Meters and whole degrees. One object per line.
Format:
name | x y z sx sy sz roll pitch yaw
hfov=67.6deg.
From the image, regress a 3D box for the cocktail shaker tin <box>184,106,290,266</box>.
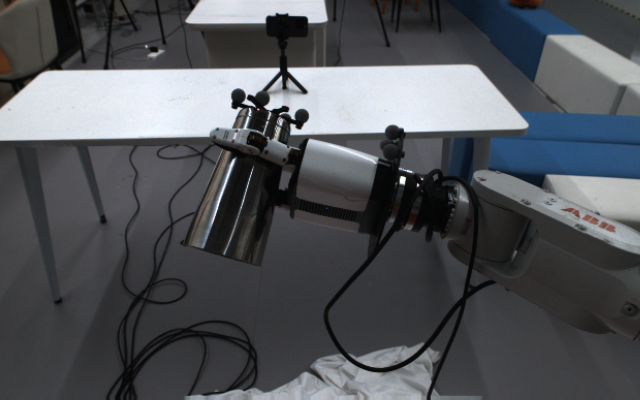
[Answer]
cocktail shaker tin | -0.086 -0.019 0.568 0.093 0.093 0.170 13 79 15
